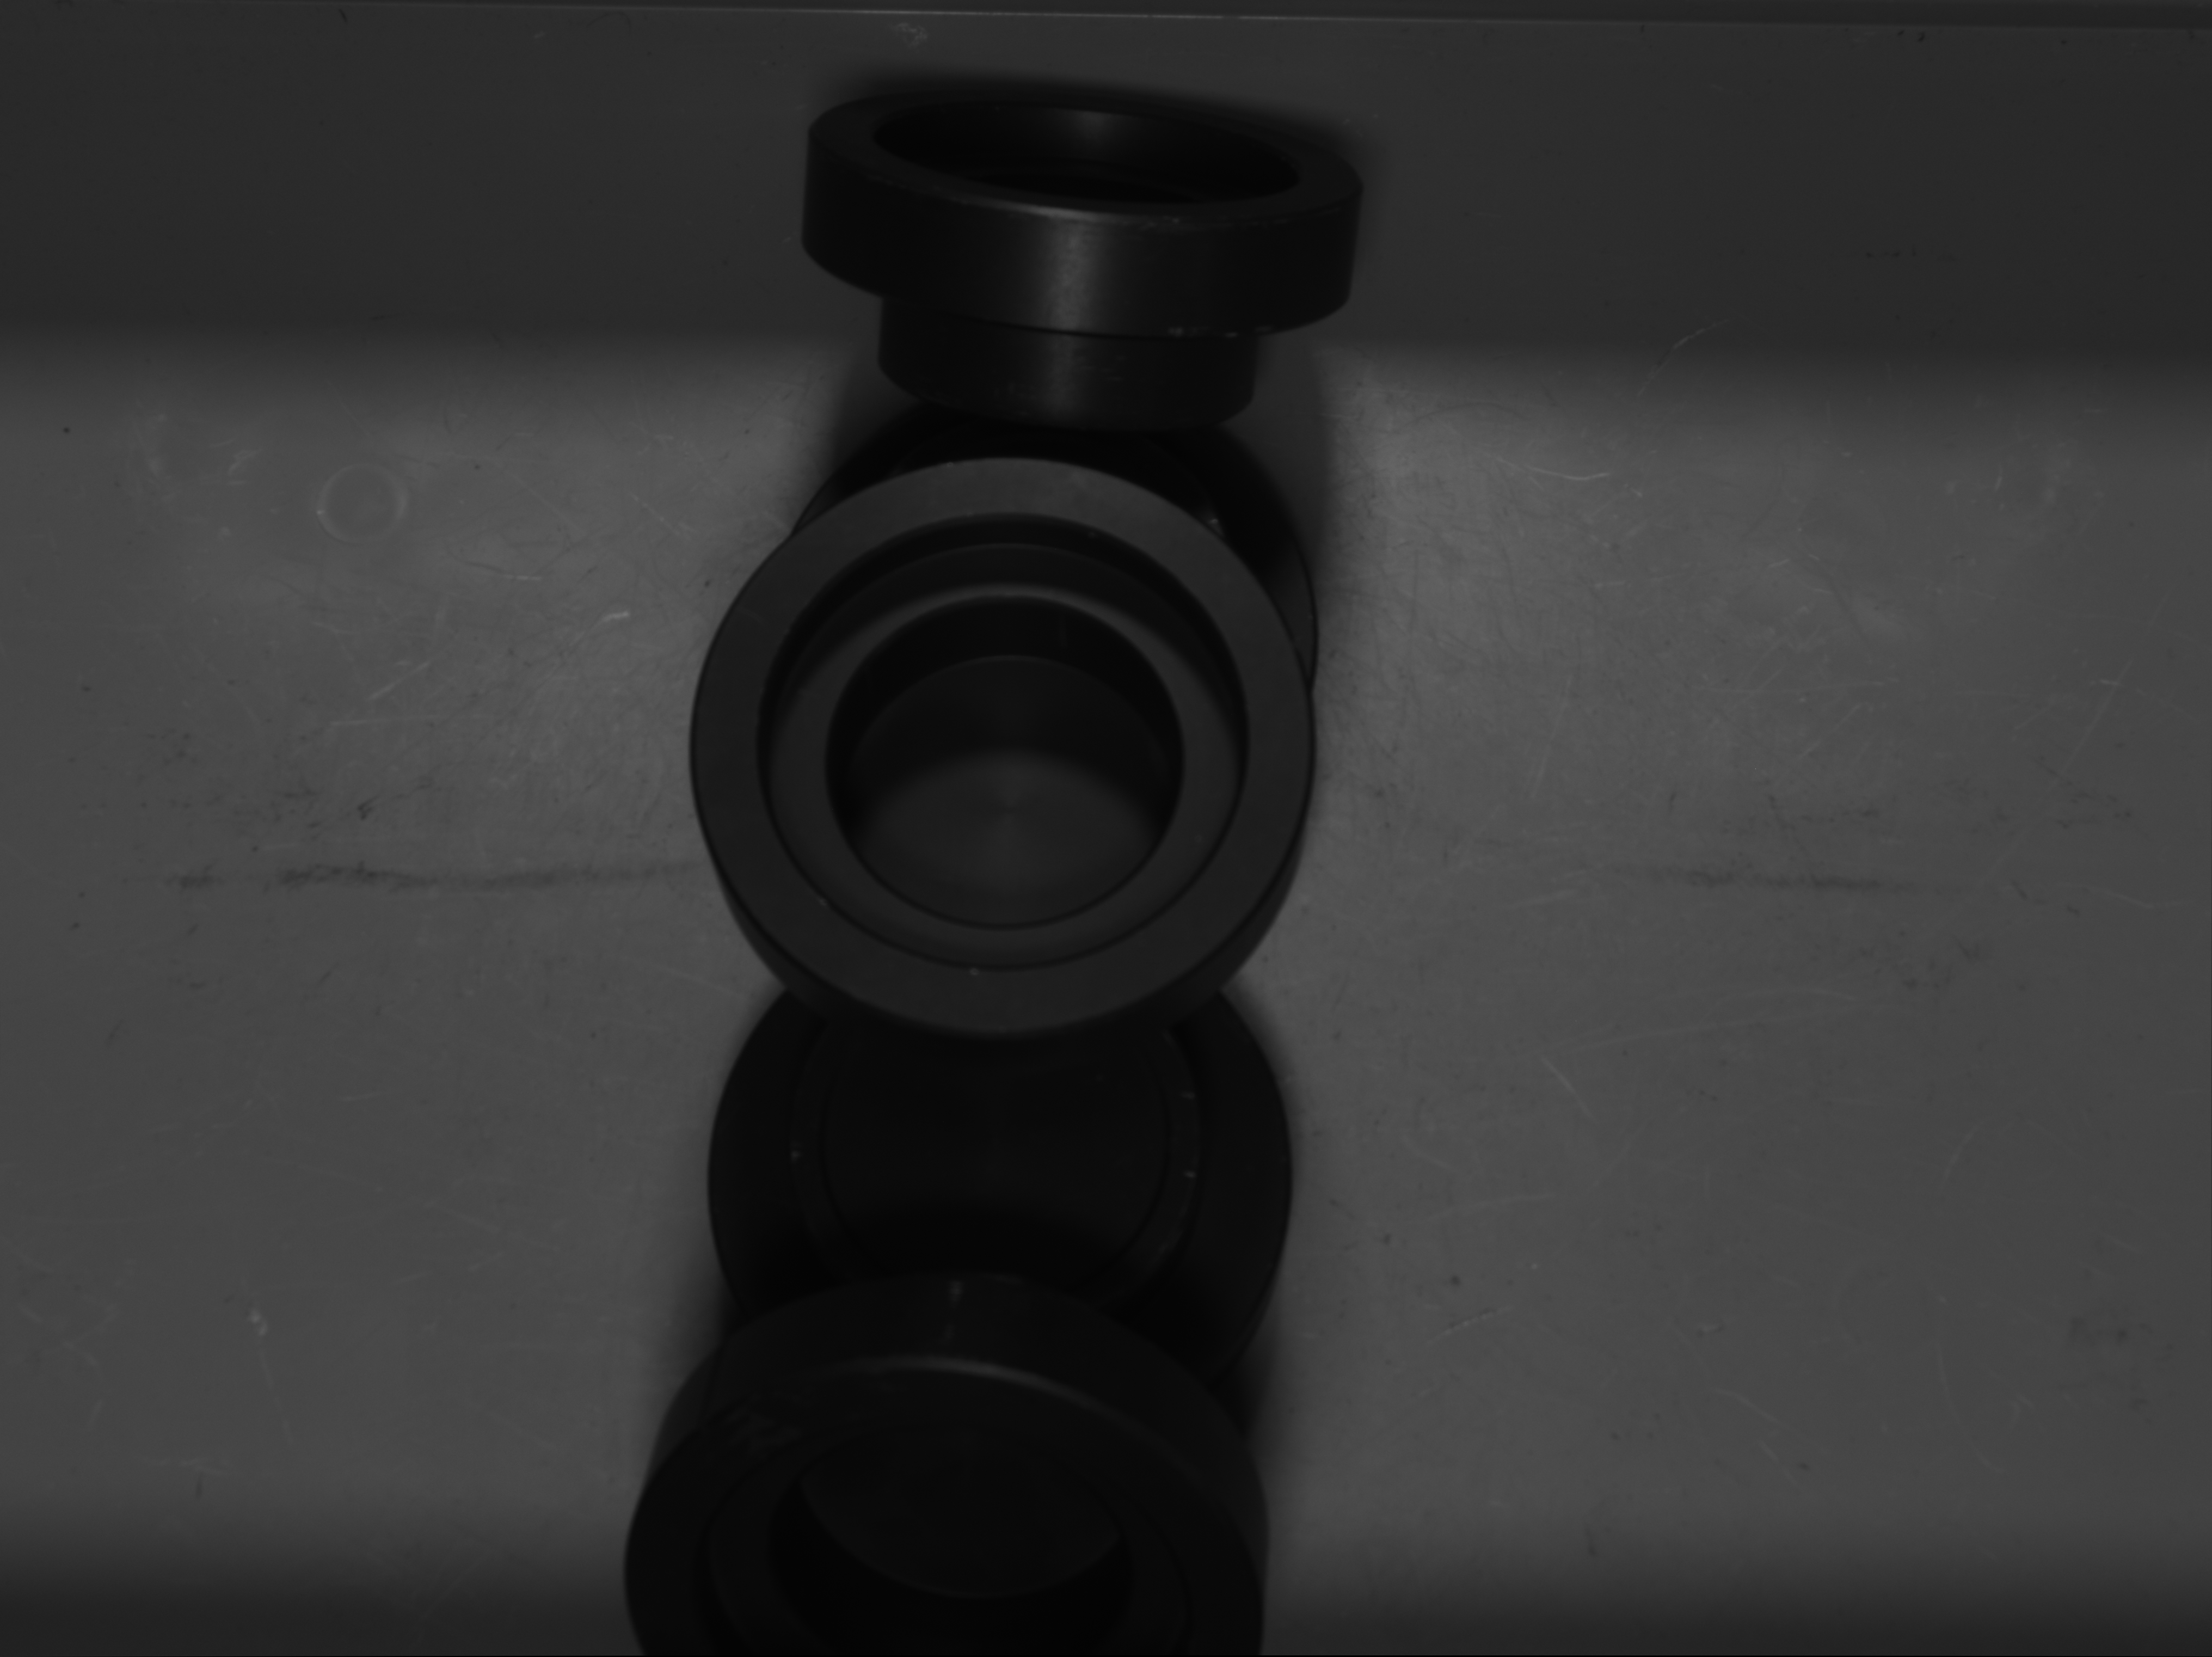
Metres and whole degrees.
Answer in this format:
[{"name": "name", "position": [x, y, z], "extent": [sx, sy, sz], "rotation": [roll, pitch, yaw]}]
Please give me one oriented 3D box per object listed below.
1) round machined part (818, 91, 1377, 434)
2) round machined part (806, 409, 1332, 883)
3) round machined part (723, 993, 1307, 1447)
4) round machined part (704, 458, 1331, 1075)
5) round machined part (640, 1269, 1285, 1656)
[{"name": "round machined part", "position": [-0.003, -0.100, 0.652], "extent": [0.098, 0.098, 0.042], "rotation": [7, 112, 3]}, {"name": "round machined part", "position": [-0.009, -0.035, 0.647], "extent": [0.098, 0.042, 0.098], "rotation": [0, 70, 0]}, {"name": "round machined part", "position": [-0.015, 0.057, 0.613], "extent": [0.098, 0.042, 0.098], "rotation": [0, 70, 0]}, {"name": "round machined part", "position": [-0.014, -0.007, 0.591], "extent": [0.098, 0.042, 0.098], "rotation": [0, 70, 0]}, {"name": "round machined part", "position": [-0.021, 0.108, 0.575], "extent": [0.098, 0.098, 0.042], "rotation": [6, 32, 2]}]
